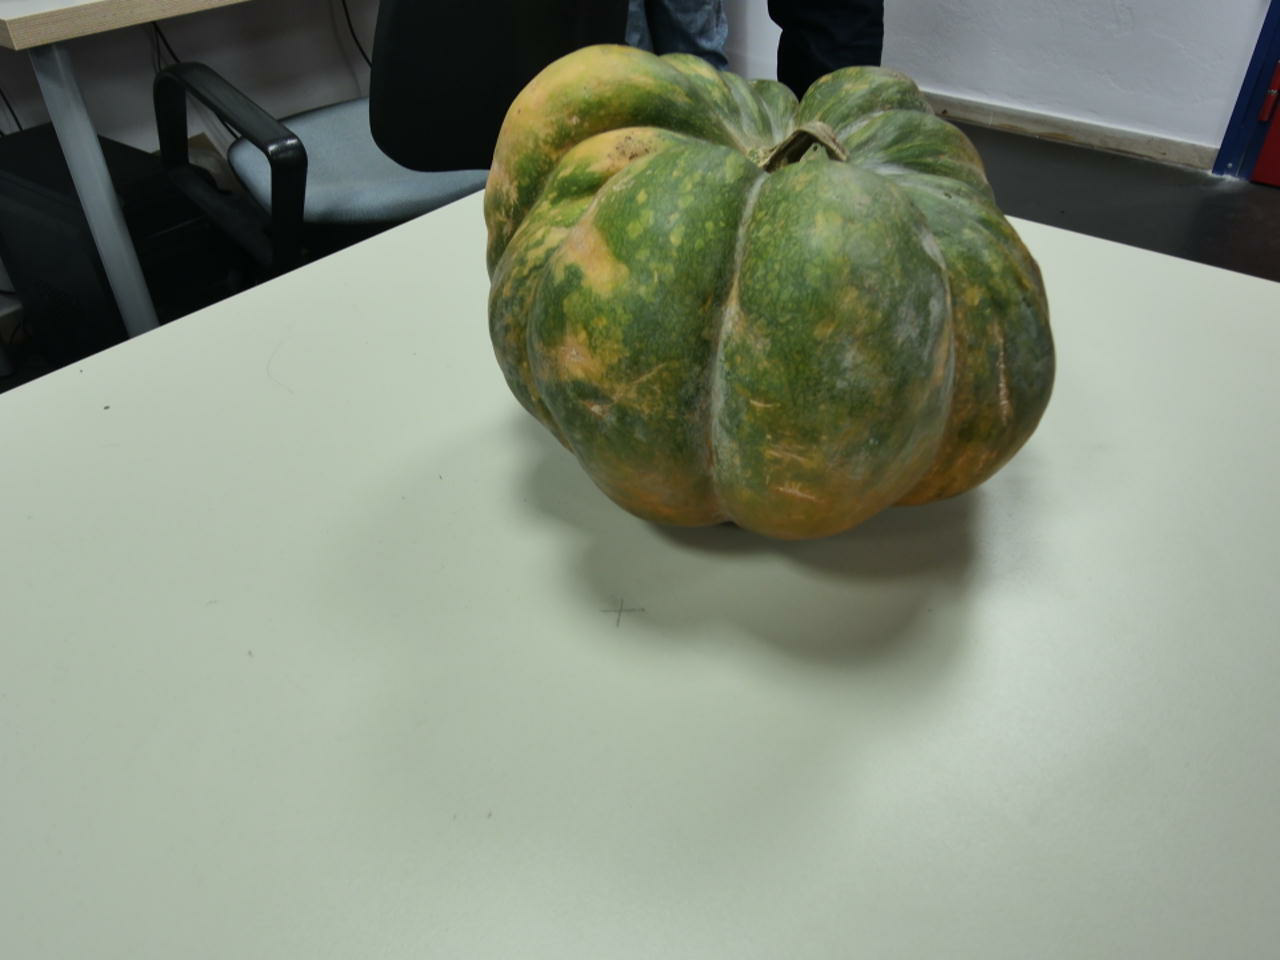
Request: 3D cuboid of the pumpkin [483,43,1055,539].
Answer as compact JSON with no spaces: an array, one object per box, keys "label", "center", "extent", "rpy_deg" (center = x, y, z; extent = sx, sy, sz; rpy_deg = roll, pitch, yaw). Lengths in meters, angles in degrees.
[{"label":"pumpkin","center":[0.053,-0.088,0.434],"extent":[0.237,0.173,0.270],"rpy_deg":[-8,37,-10]}]
